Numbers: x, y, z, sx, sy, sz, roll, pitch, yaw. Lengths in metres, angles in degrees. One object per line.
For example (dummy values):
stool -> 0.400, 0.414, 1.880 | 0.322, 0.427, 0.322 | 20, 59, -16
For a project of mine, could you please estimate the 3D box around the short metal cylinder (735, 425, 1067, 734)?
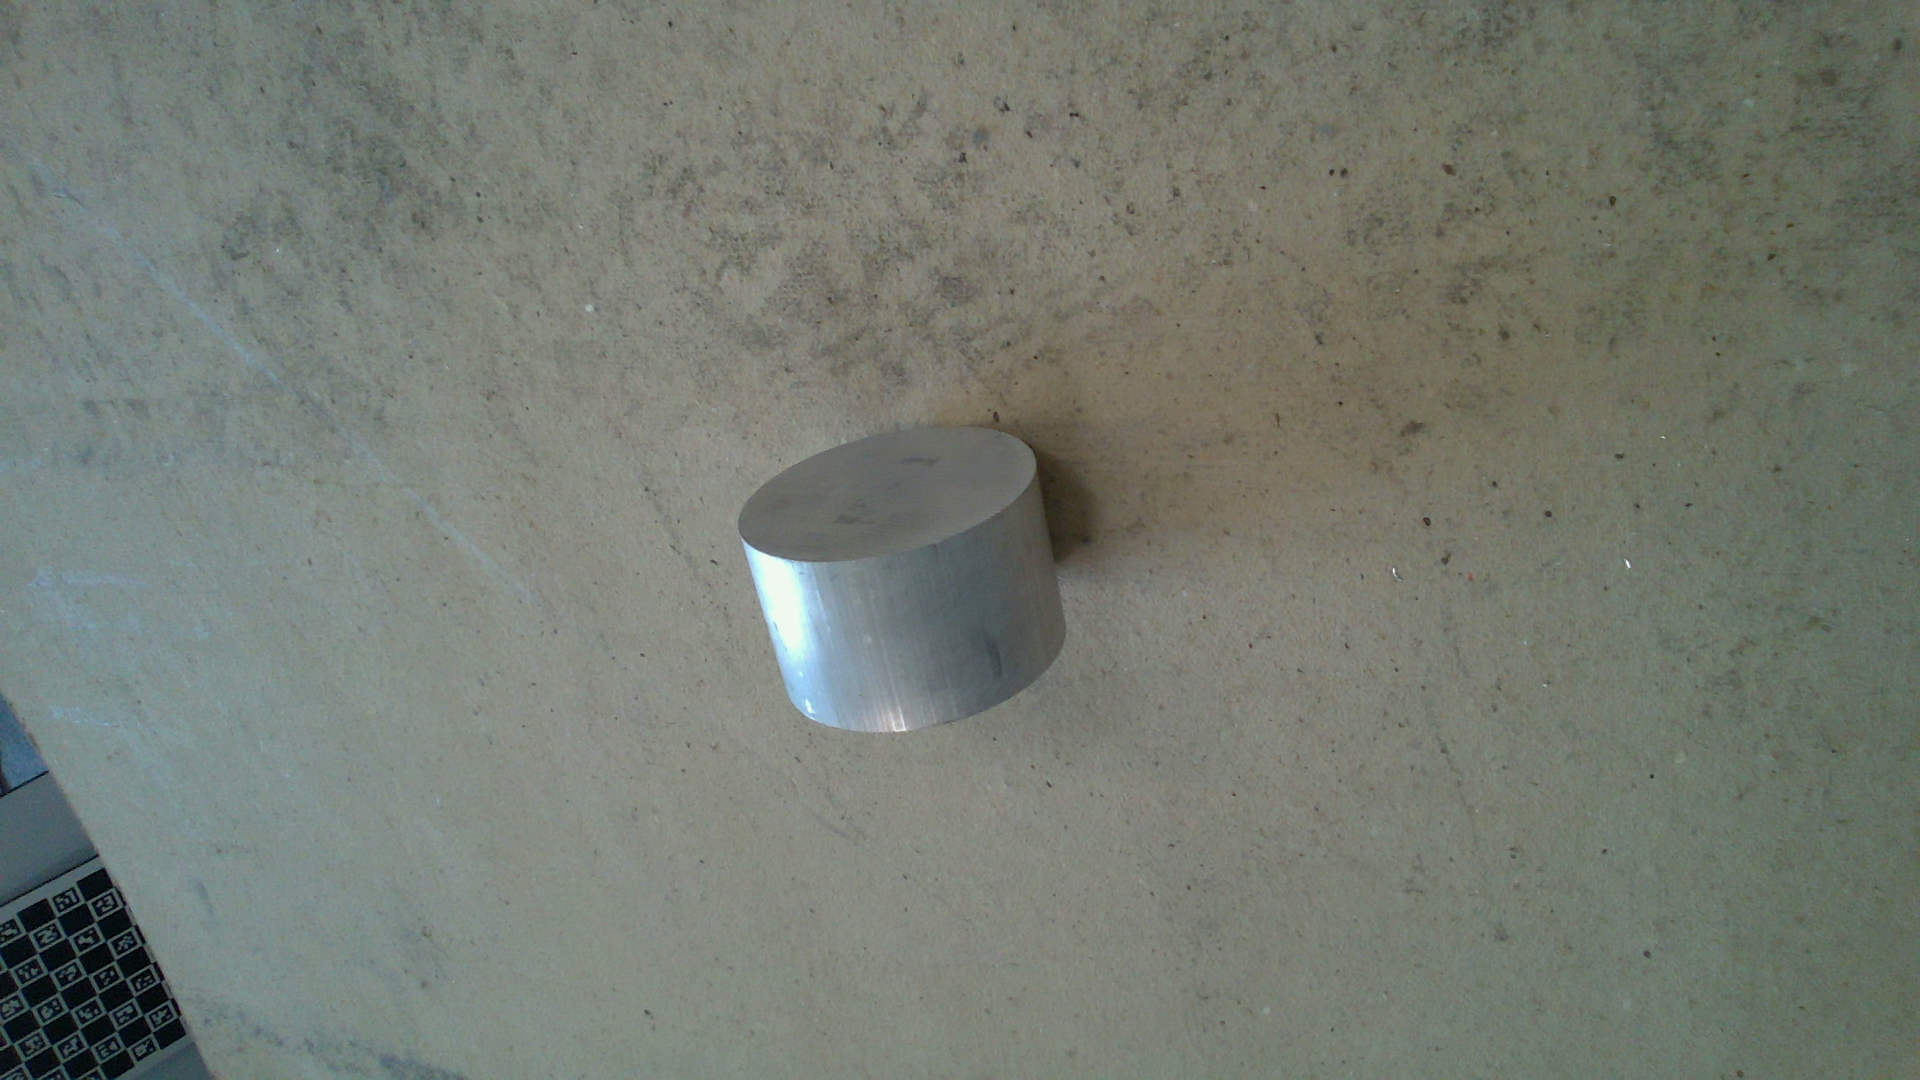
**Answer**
short metal cylinder -> -0.015, 0.008, 0.371 | 0.080, 0.080, 0.050 | 2, 119, 27
